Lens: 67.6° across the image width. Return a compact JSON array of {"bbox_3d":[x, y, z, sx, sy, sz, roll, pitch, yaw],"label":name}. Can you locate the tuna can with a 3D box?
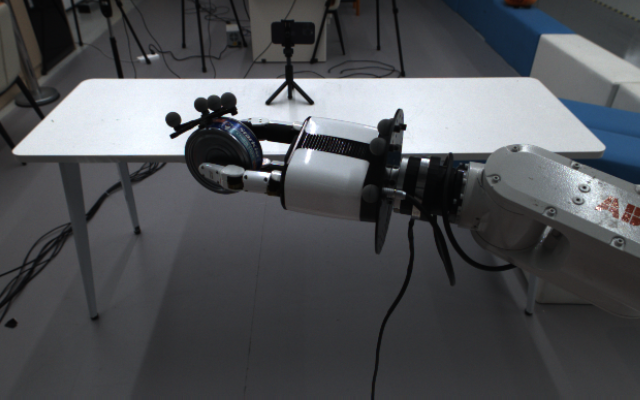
[{"bbox_3d":[-0.108,-0.045,0.558,0.085,0.085,0.034,11,34,13],"label":"tuna can"}]
